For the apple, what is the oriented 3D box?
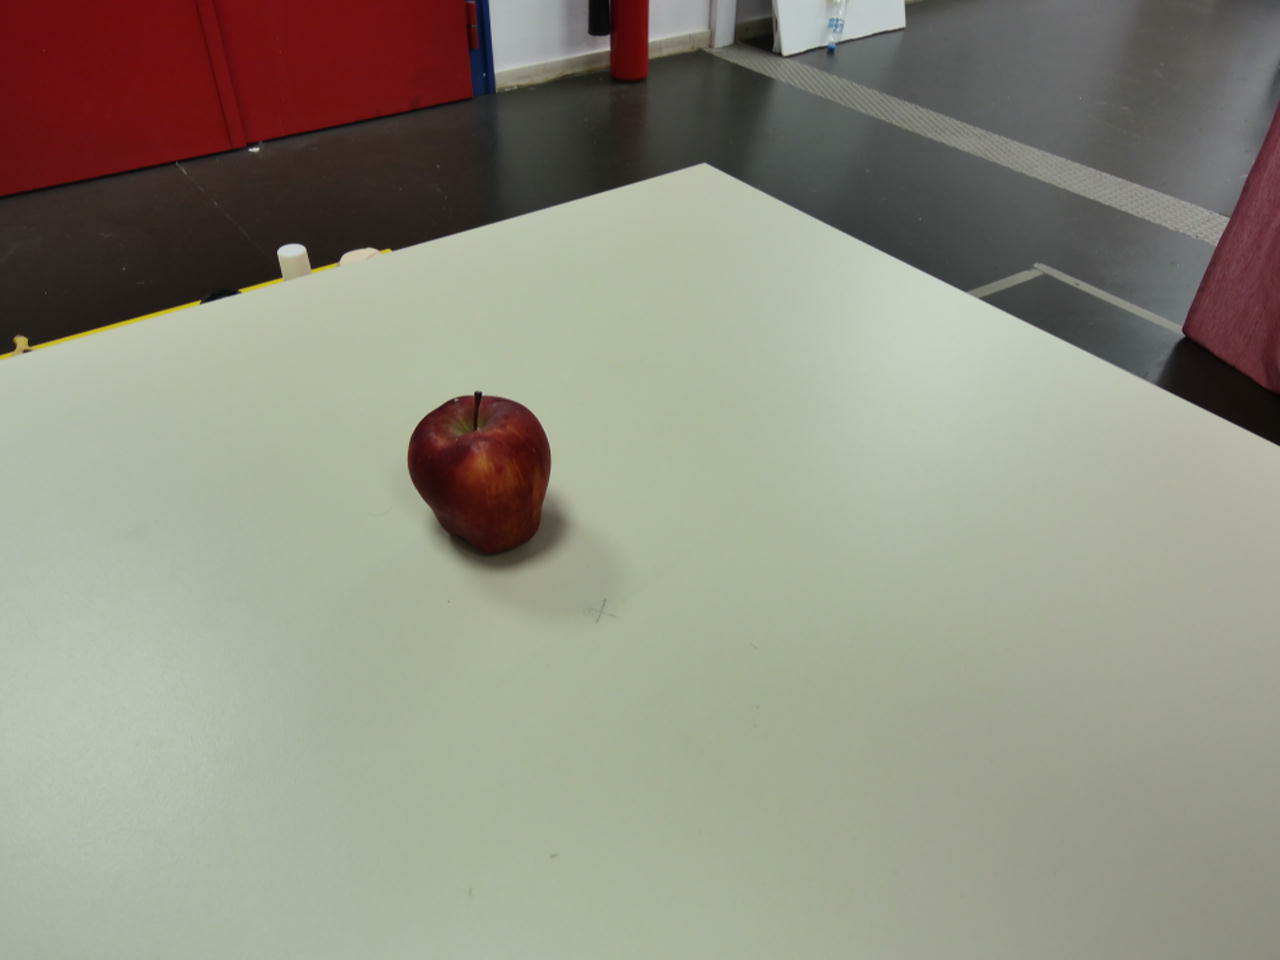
[{"bbox_3d":[-0.089,-0.008,0.554,0.083,0.090,0.083,0,38,0],"label":"apple"}]
